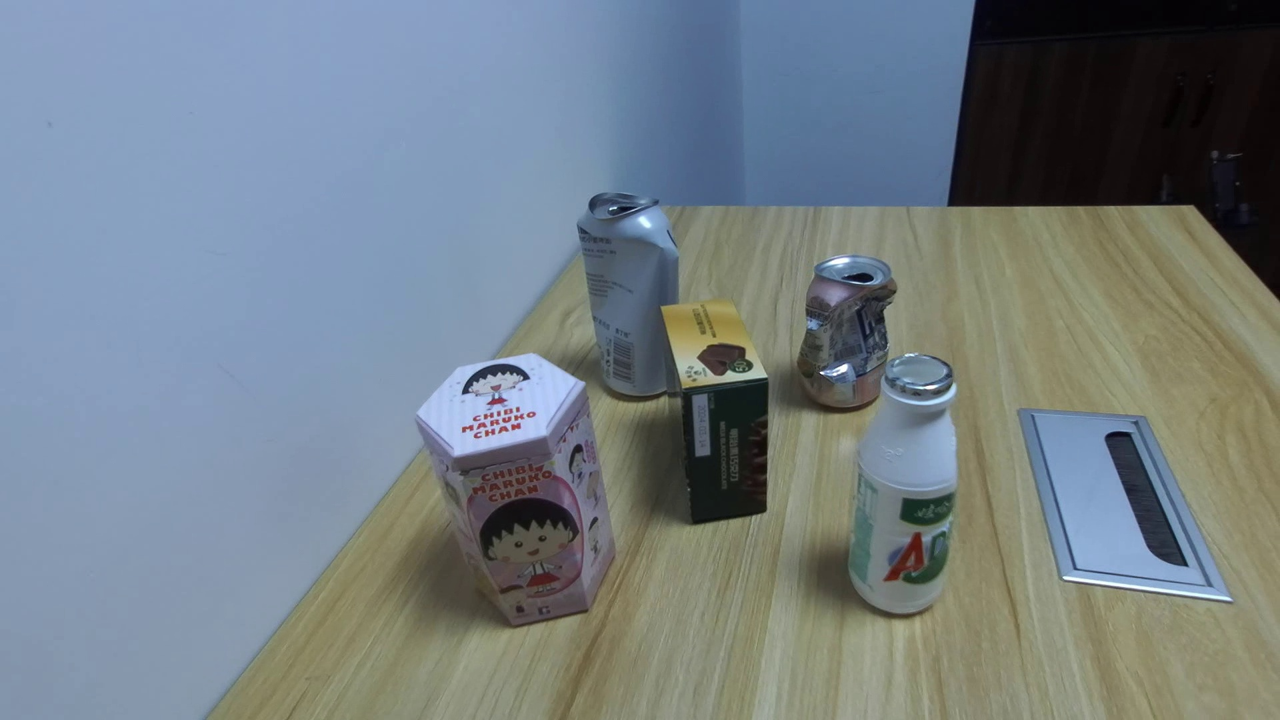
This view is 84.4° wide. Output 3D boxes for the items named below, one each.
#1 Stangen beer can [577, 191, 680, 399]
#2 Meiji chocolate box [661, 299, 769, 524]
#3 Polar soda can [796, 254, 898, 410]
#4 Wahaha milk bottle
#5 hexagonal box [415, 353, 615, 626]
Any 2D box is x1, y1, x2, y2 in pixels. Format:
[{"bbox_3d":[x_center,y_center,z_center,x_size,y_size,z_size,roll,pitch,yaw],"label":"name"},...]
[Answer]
[{"bbox_3d":[-0.005,-0.049,0.560,0.077,0.162,0.065,-4,31,4],"label":"Stangen beer can"},{"bbox_3d":[0.049,0.032,0.477,0.056,0.109,0.109,-7,32,-2],"label":"Meiji chocolate box"},{"bbox_3d":[0.156,-0.021,0.536,0.070,0.114,0.074,2,37,5],"label":"Polar soda can"},{"bbox_3d":[0.140,0.070,0.371,0.053,0.137,0.053,-6,32,4],"label":"Wahaha milk bottle"},{"bbox_3d":[-0.066,0.076,0.407,0.091,0.136,0.083,-11,33,-6],"label":"hexagonal box"}]
